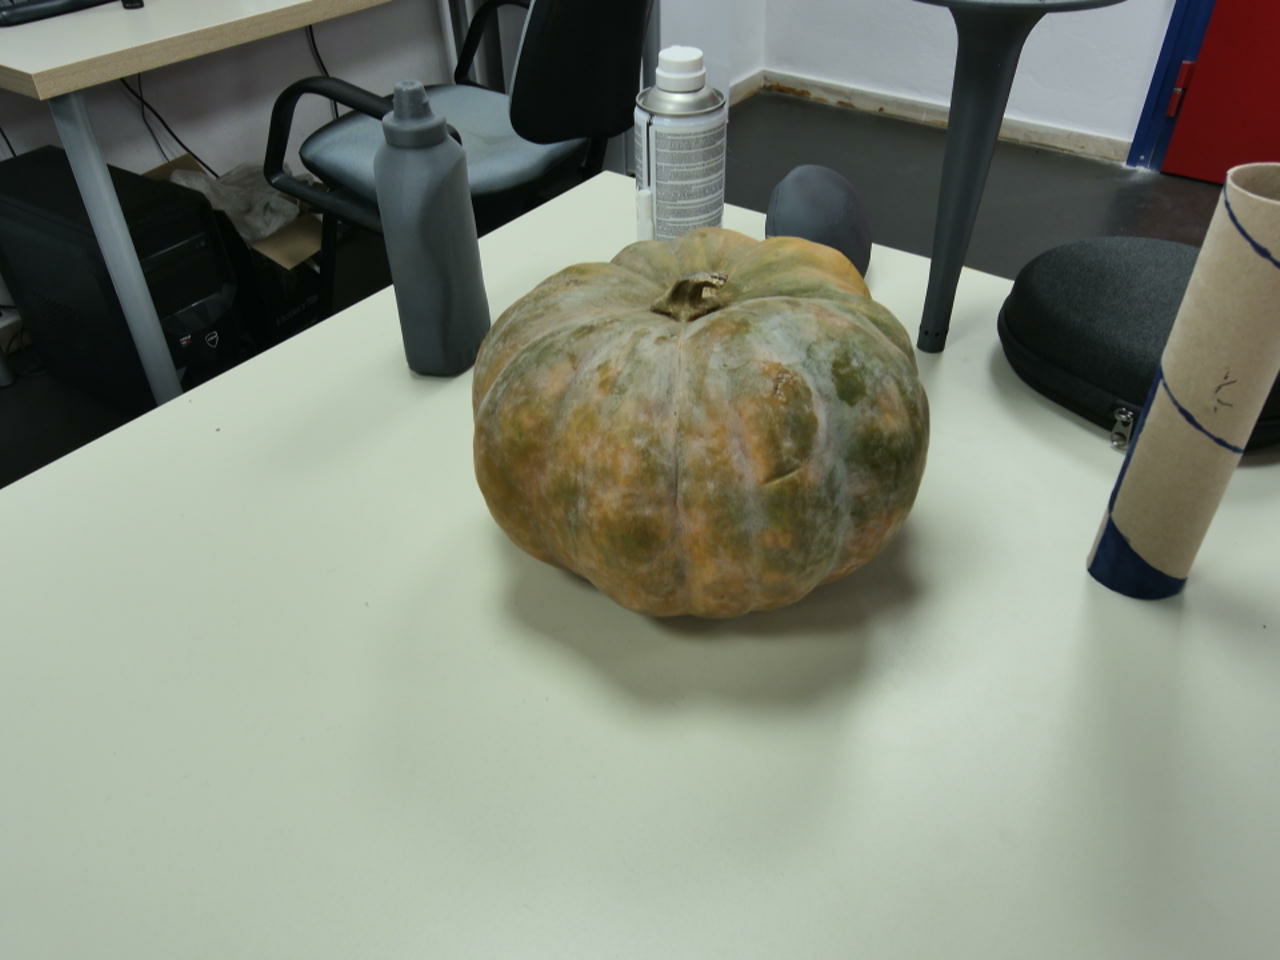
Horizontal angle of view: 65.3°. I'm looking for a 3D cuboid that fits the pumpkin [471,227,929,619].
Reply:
[{"bbox_3d":[0.029,-0.037,0.538,0.252,0.169,0.251,0,38,0],"label":"pumpkin"}]
